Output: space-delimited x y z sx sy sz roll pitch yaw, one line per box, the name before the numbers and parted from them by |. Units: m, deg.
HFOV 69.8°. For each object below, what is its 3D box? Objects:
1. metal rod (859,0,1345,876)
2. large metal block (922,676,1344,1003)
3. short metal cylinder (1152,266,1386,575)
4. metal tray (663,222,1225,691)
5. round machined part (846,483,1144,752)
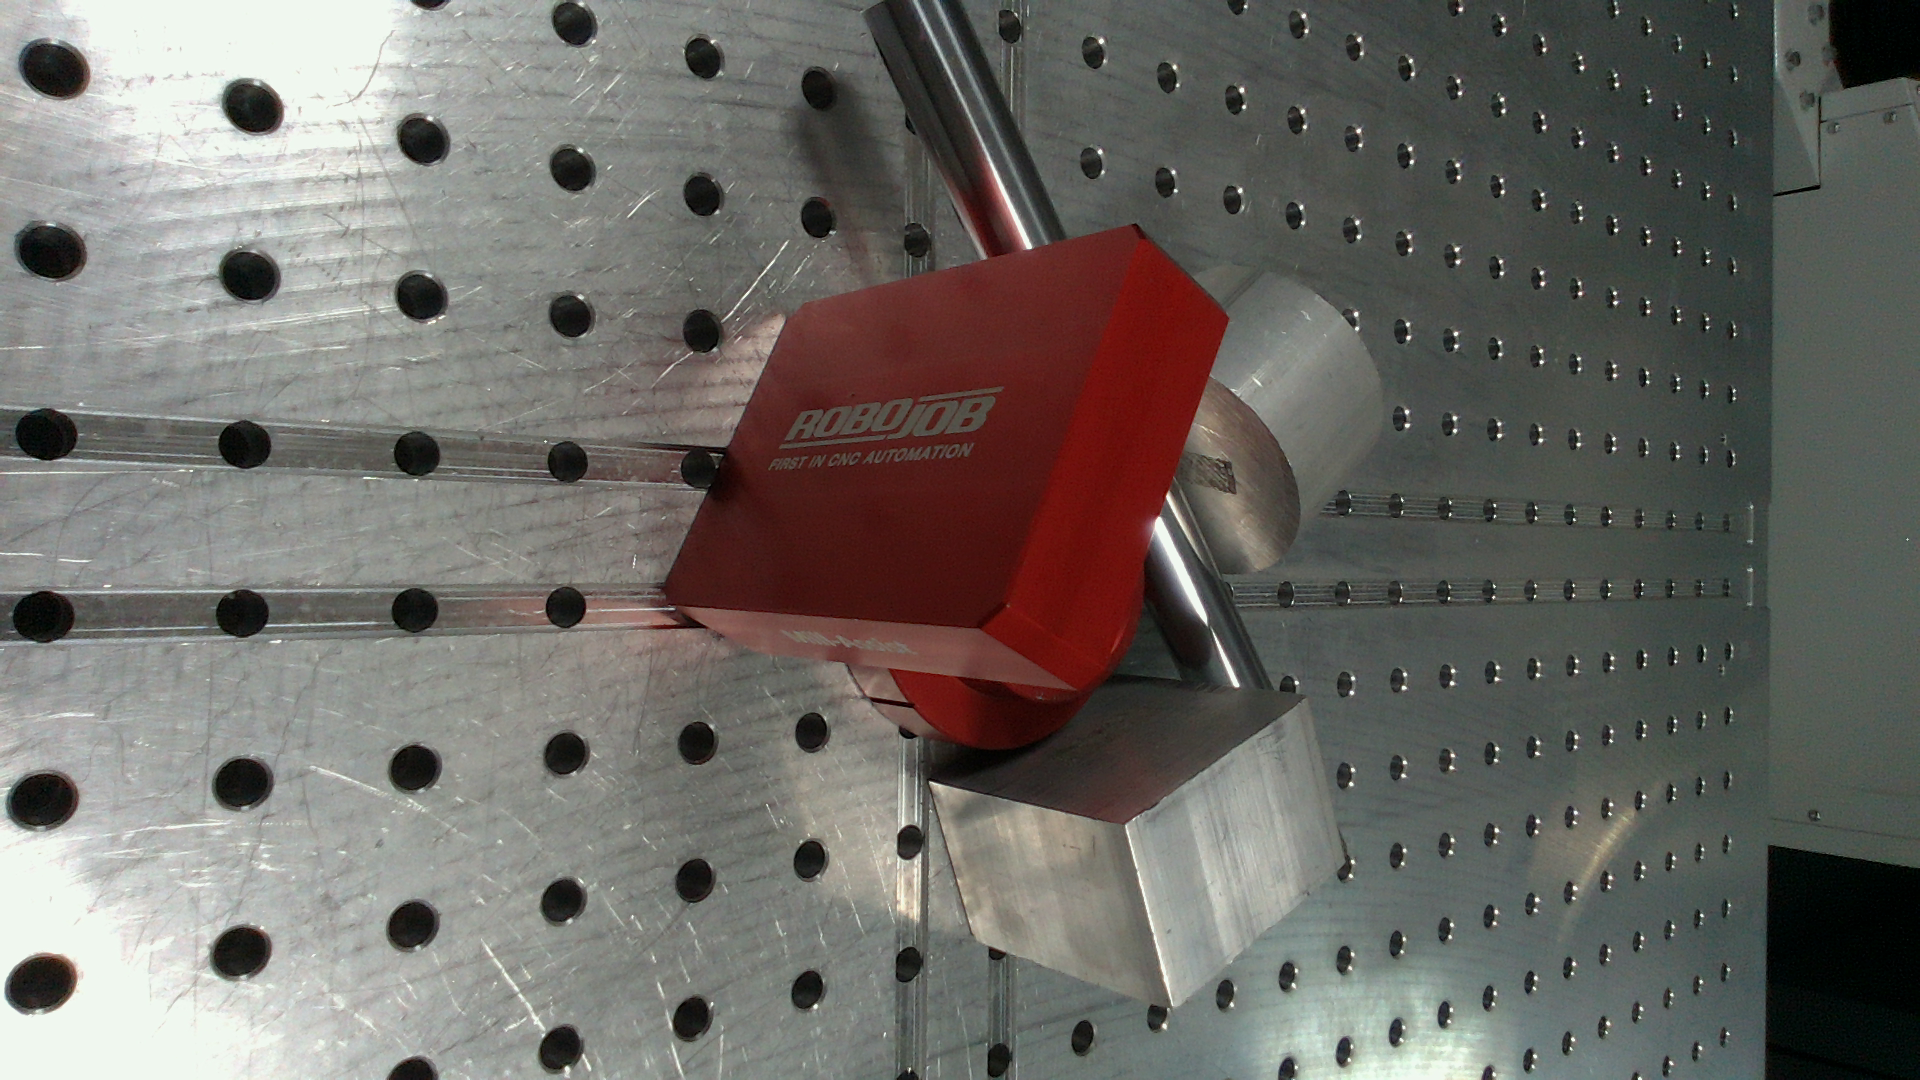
metal rod | 0.051 -0.017 0.407 0.025 0.025 0.300 -42 116 -32
large metal block | 0.050 0.080 0.398 0.080 0.080 0.050 -24 105 -37
short metal cylinder | 0.082 -0.036 0.423 0.050 0.080 0.080 -44 117 -31
metal tray | -0.010 -0.017 0.316 0.030 0.129 0.090 34 69 -35
round machined part | 0.014 0.012 0.392 0.098 0.042 0.098 0 90 -40
